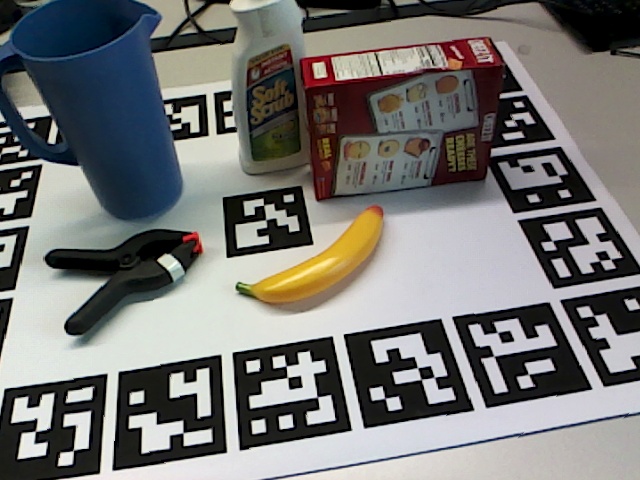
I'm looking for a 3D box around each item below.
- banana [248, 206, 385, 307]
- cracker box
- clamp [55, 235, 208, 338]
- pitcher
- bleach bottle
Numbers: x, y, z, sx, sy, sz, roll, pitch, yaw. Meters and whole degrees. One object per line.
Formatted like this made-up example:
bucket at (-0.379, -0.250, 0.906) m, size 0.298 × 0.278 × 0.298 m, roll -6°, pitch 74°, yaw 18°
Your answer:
banana at (0.015, 0.022, 0.701) m, size 0.197 × 0.039 × 0.075 m, roll -37°, pitch 53°, yaw -26°
cracker box at (0.097, -0.141, 0.731) m, size 0.213 × 0.163 × 0.072 m, roll -9°, pitch 43°, yaw -1°
clamp at (-0.206, 0.037, 0.699) m, size 0.164 × 0.036 × 0.122 m, roll -21°, pitch 46°, yaw -16°
pitcher at (-0.248, -0.140, 0.702) m, size 0.188 × 0.242 × 0.134 m, roll -22°, pitch 47°, yaw -19°
bleach bottle at (-0.069, -0.187, 0.755) m, size 0.102 × 0.250 × 0.068 m, roll -10°, pitch 45°, yaw -3°
